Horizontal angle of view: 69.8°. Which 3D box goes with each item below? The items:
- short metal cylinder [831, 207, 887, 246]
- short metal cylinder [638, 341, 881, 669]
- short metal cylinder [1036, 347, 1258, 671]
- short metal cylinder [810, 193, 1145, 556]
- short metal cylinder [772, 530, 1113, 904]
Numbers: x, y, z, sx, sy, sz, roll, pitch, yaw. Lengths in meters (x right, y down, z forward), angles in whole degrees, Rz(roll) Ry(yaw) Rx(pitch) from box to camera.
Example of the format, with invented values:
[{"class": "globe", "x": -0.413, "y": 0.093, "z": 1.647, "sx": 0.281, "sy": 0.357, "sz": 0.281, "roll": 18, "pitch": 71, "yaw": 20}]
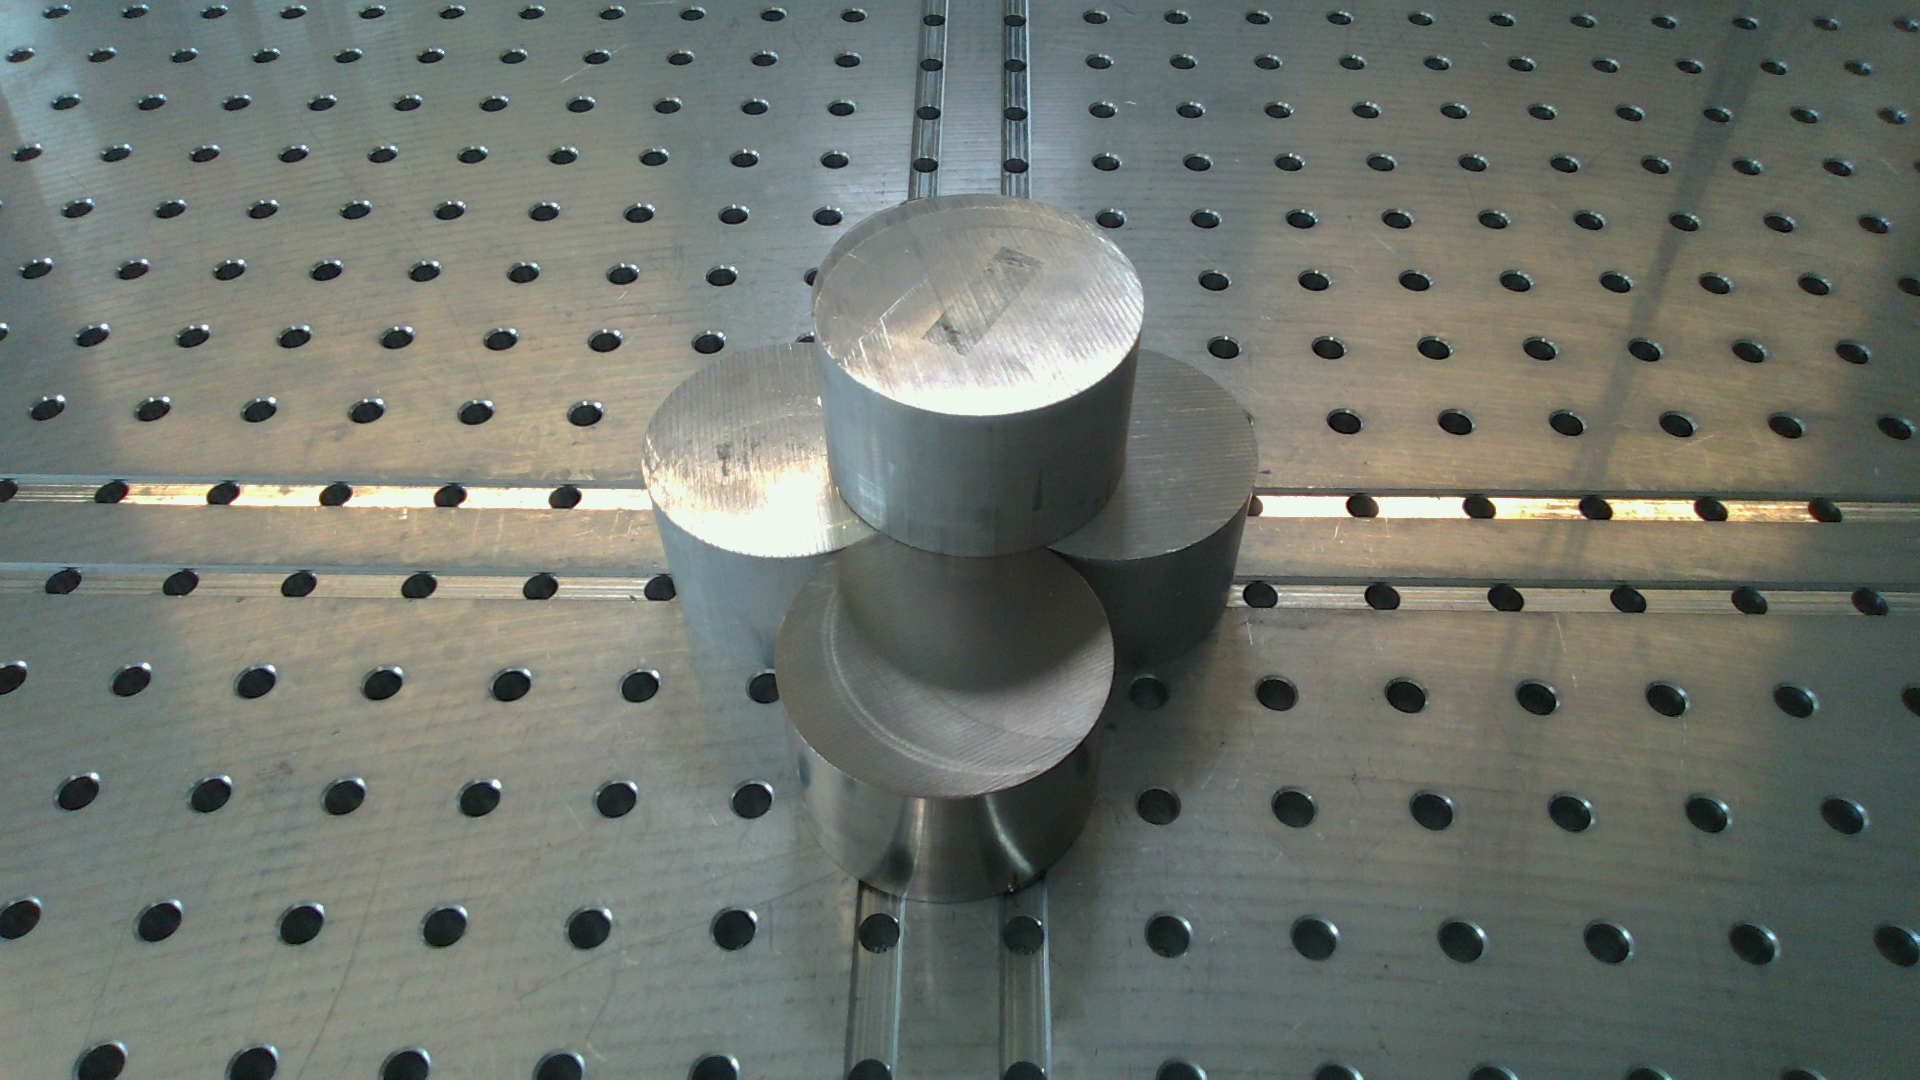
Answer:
[{"class": "short metal cylinder", "x": -0.002, "y": -0.063, "z": 0.431, "sx": 0.080, "sy": 0.050, "sz": 0.080, "roll": 1, "pitch": 50, "yaw": -1}, {"class": "short metal cylinder", "x": -0.046, "y": -0.010, "z": 0.387, "sx": 0.080, "sy": 0.050, "sz": 0.080, "roll": 0, "pitch": 50, "yaw": 0}, {"class": "short metal cylinder", "x": 0.039, "y": -0.010, "z": 0.386, "sx": 0.080, "sy": 0.050, "sz": 0.080, "roll": 0, "pitch": 50, "yaw": 0}, {"class": "short metal cylinder", "x": 0.004, "y": -0.043, "z": 0.348, "sx": 0.080, "sy": 0.050, "sz": 0.080, "roll": 0, "pitch": 50, "yaw": 0}, {"class": "short metal cylinder", "x": -0.004, "y": 0.042, "z": 0.342, "sx": 0.080, "sy": 0.050, "sz": 0.080, "roll": 0, "pitch": 48, "yaw": 0}]
